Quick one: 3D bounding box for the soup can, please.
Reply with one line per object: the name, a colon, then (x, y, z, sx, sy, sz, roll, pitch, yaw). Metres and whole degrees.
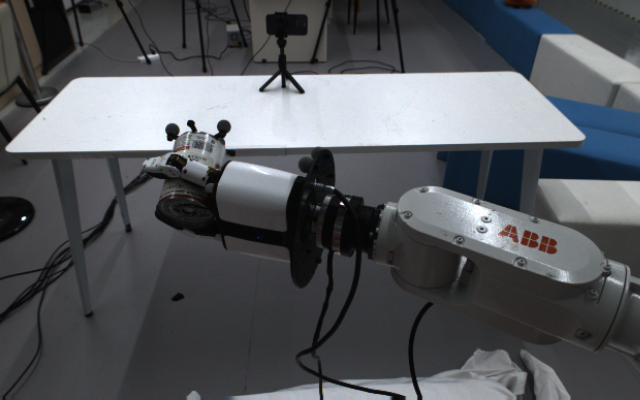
soup can: (-0.155, -0.025, 0.591, 0.067, 0.067, 0.101, 3, 56, 1)
